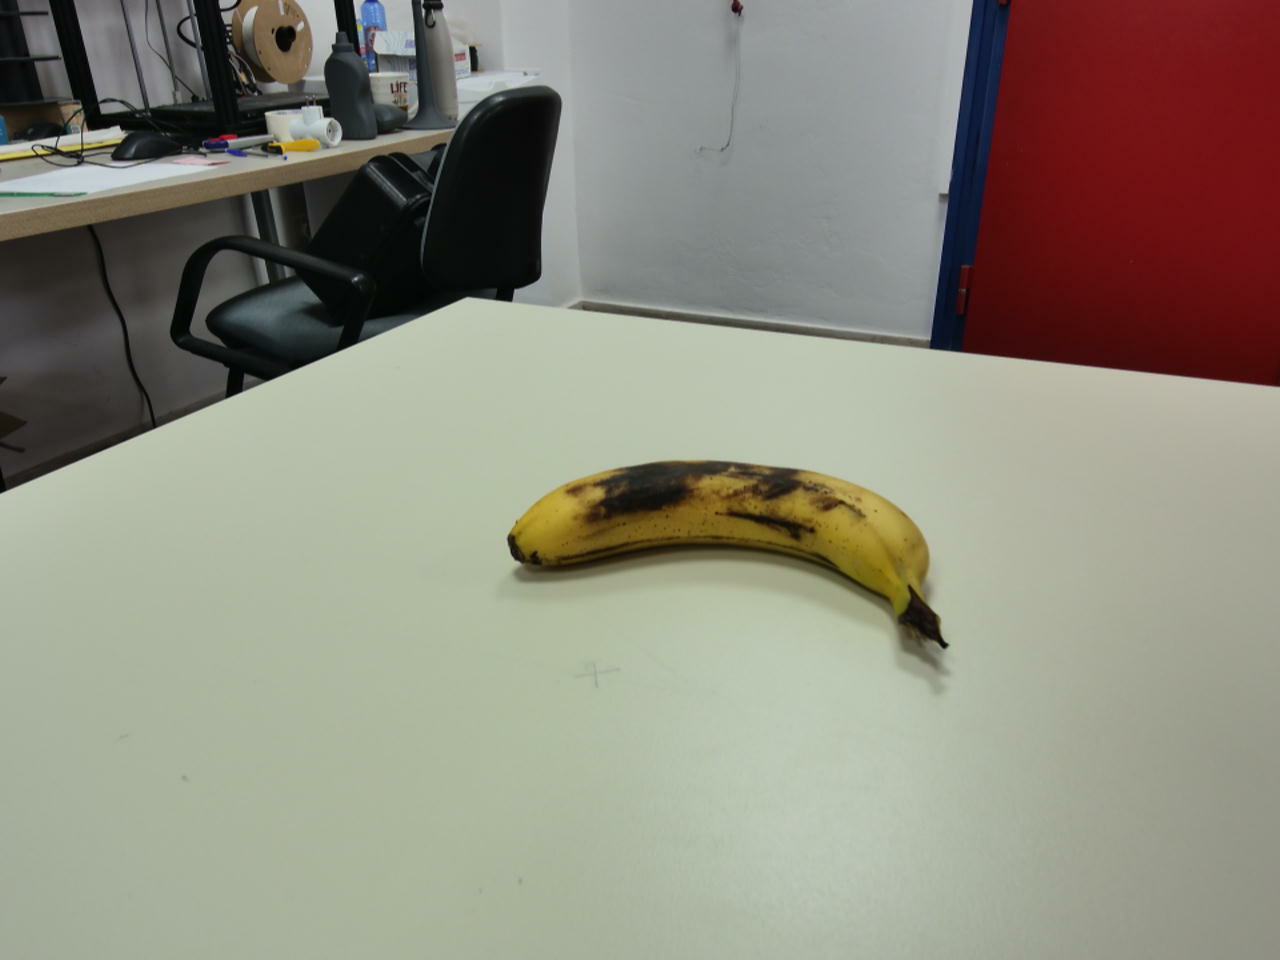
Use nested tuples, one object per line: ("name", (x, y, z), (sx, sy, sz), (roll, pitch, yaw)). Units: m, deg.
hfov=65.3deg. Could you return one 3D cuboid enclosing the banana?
("banana", (0.043, 0.022, 0.435), (0.187, 0.039, 0.094), (10, 25, 22))
